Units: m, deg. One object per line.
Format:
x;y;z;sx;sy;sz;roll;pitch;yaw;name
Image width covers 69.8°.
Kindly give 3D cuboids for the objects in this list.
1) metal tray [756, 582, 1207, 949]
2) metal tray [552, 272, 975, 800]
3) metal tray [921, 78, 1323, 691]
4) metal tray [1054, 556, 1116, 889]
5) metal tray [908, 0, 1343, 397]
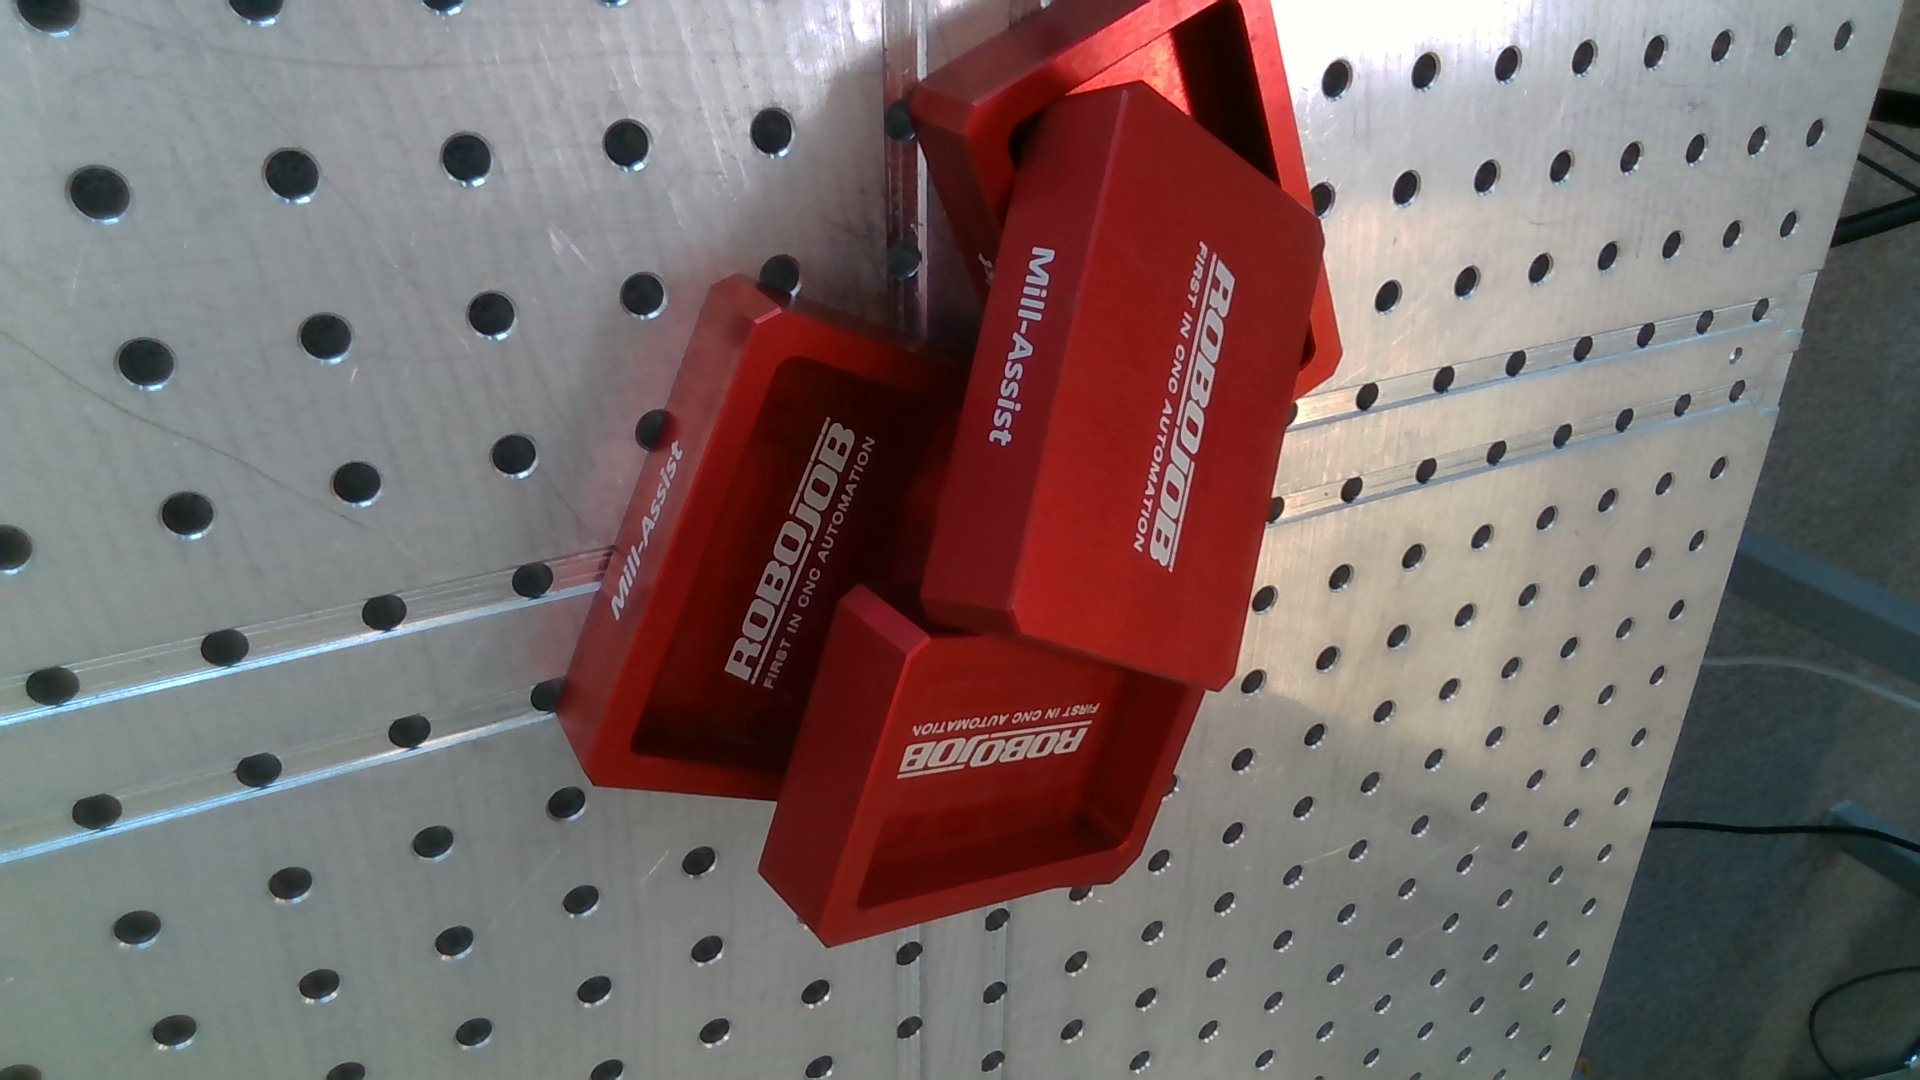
0.013;0.058;0.388;0.130;0.030;0.090;0;115;-44;metal tray
-0.043;0.006;0.366;0.090;0.030;0.130;13;107;-36;metal tray
0.045;-0.034;0.345;0.090;0.030;0.130;18;82;-44;metal tray
0.029;0.048;0.432;0.090;0.030;0.130;5;111;-34;metal tray
0.051;-0.081;0.375;0.090;0.030;0.130;-34;127;-12;metal tray
